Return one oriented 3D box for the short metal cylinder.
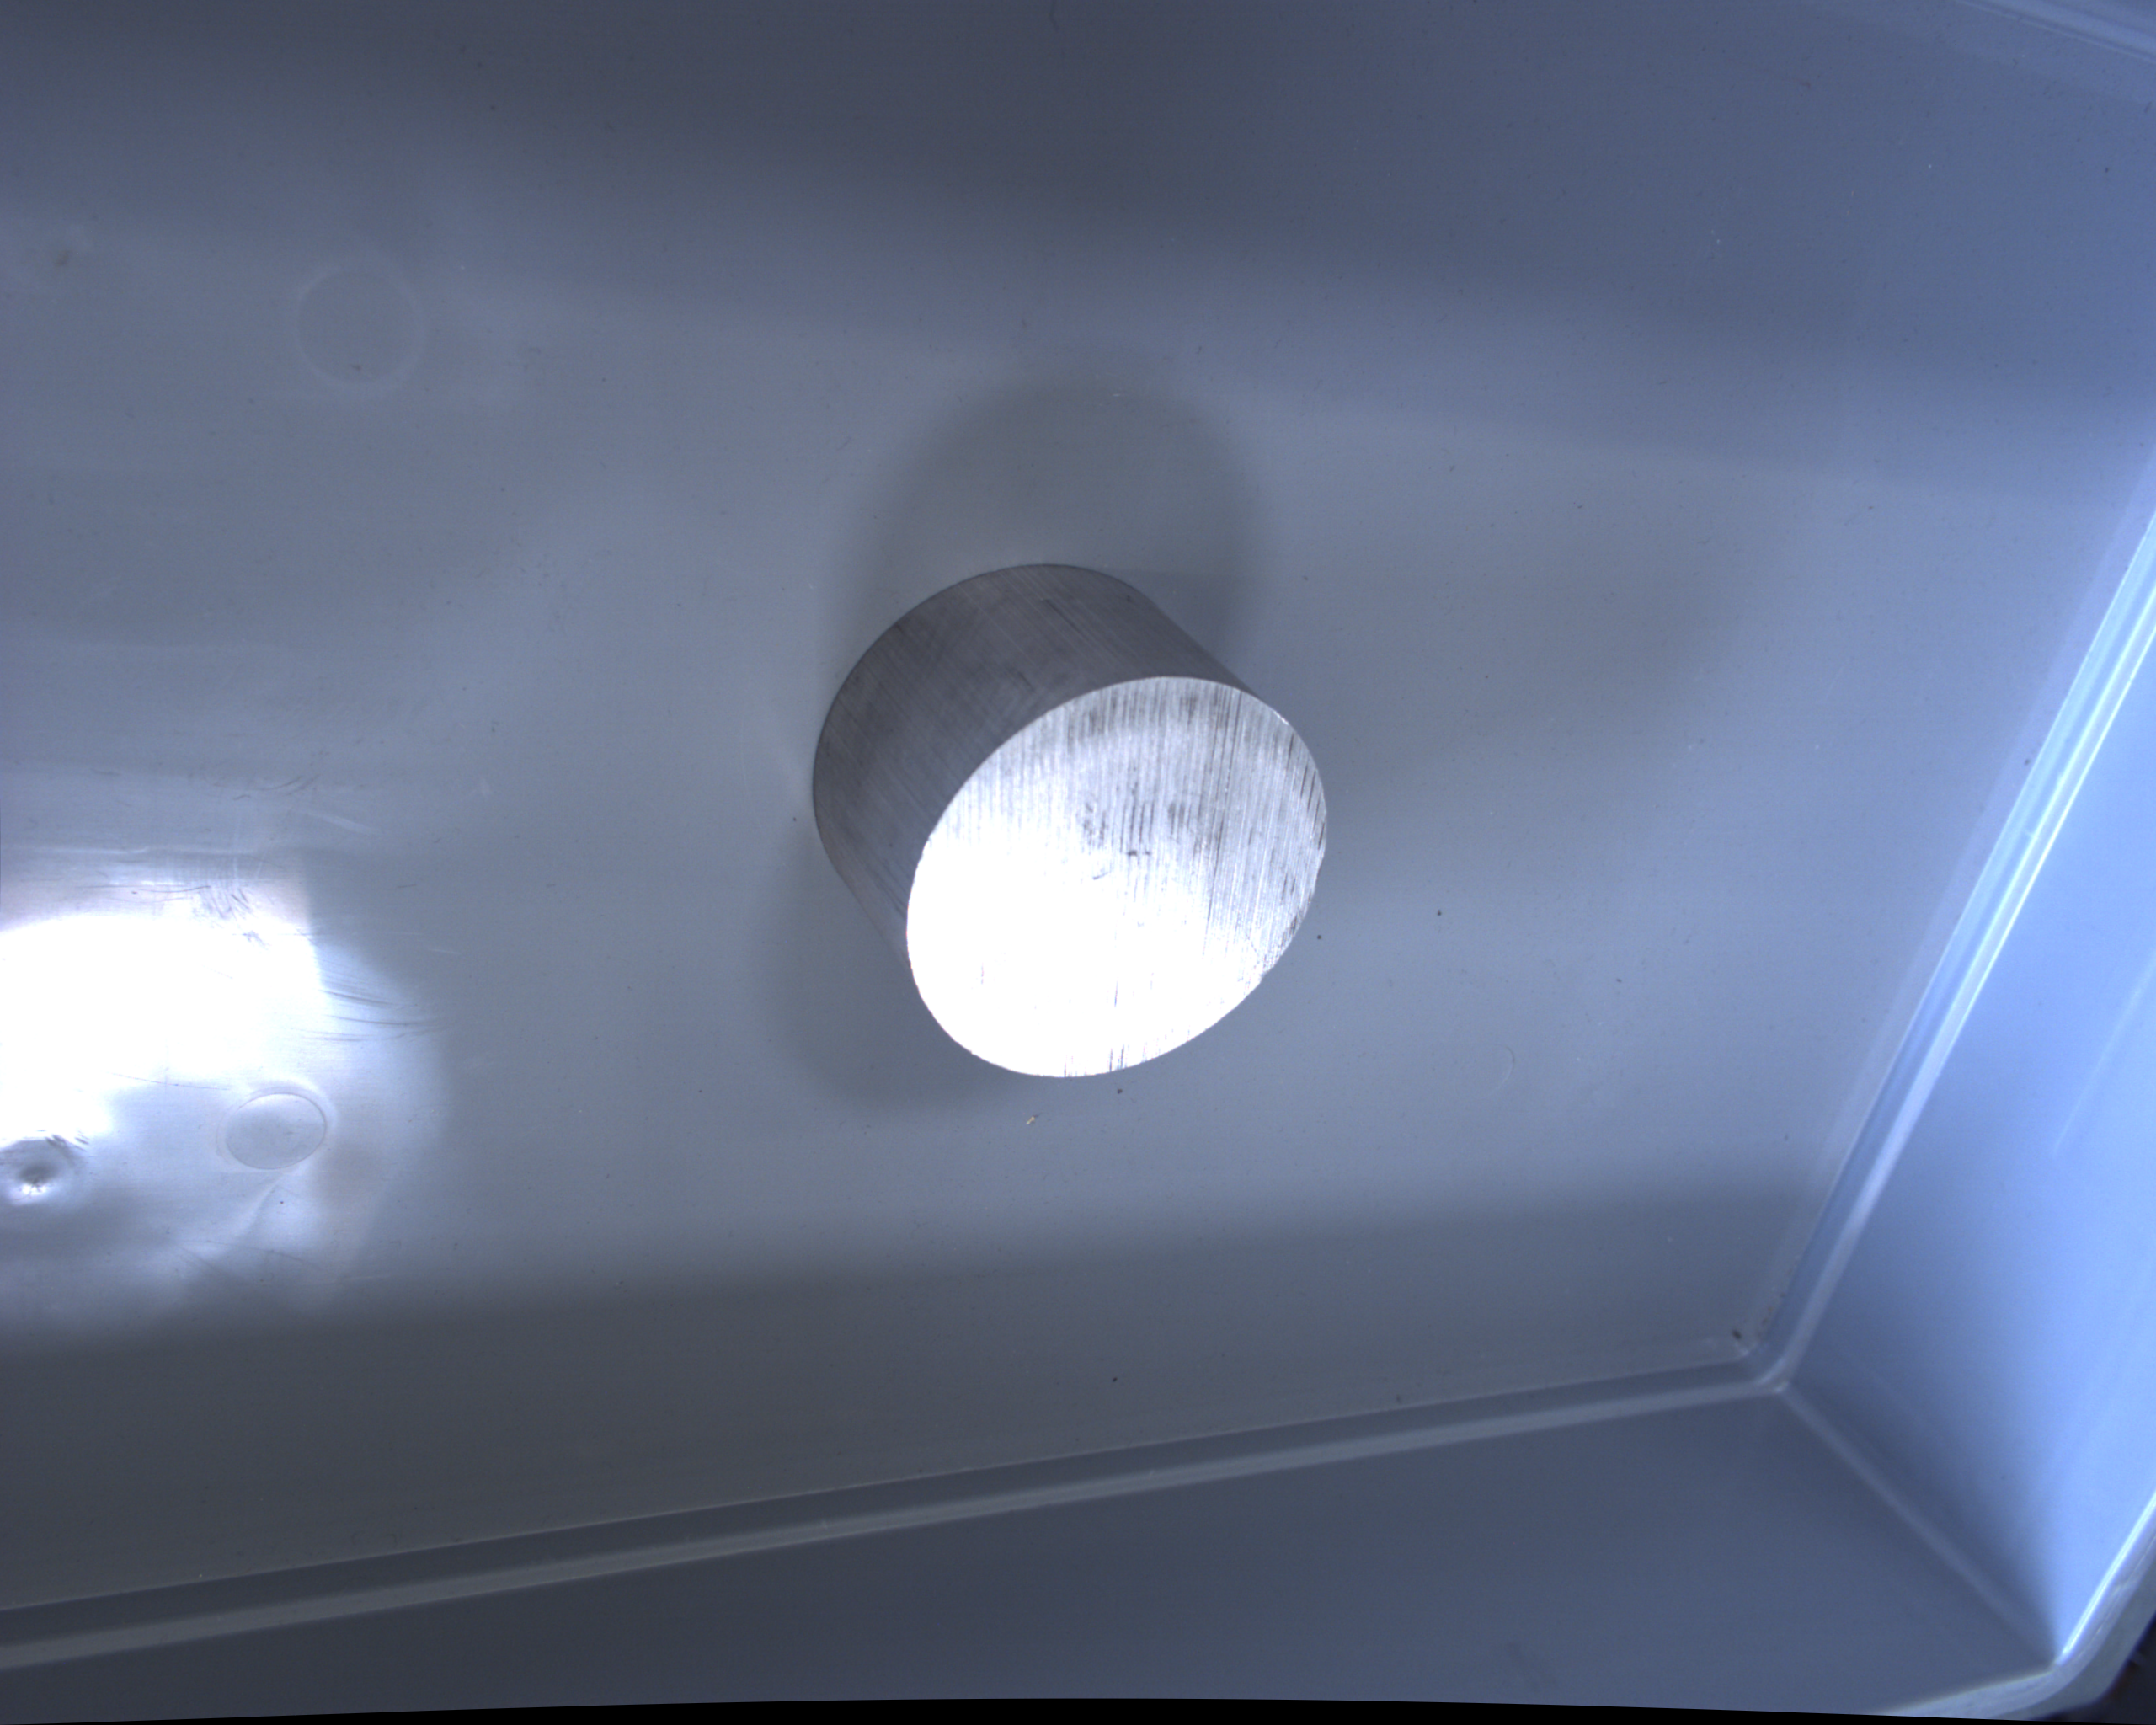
[{"bbox_3d":[-0.003,-0.008,0.383,0.081,0.050,0.080,-14,124,-21],"label":"short metal cylinder"}]
